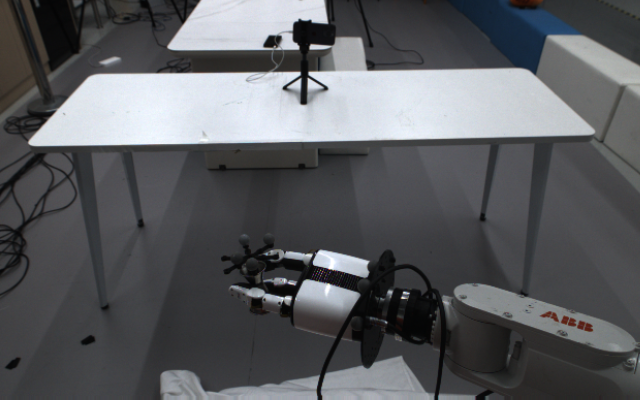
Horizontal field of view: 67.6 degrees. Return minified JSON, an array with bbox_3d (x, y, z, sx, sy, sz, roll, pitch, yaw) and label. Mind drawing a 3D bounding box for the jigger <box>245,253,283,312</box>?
[{"bbox_3d":[-0.088,0.126,0.712,0.043,0.071,0.043,-10,24,5],"label":"jigger"}]
